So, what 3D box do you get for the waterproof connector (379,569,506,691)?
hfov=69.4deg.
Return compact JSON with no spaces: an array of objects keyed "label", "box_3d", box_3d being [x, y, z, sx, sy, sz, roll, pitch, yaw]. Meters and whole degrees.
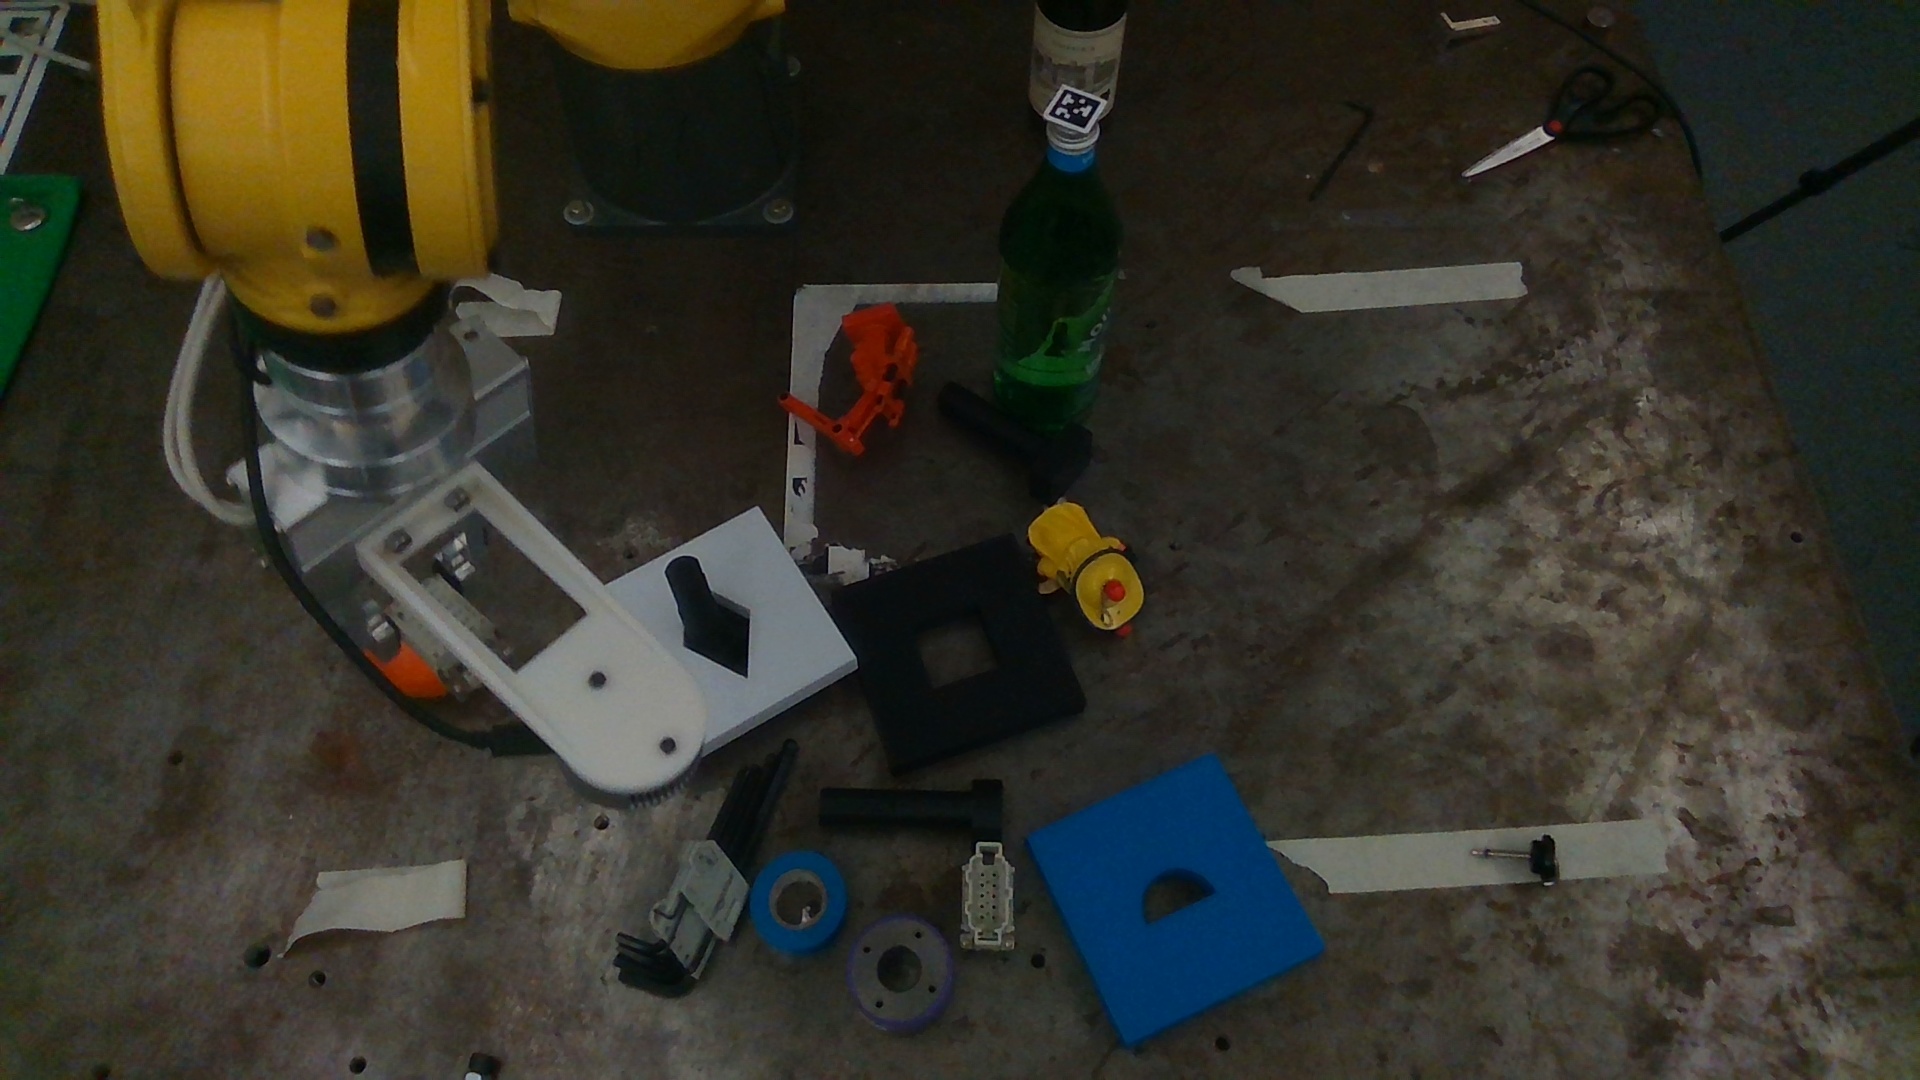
[{"label":"waterproof connector","box_3d":[-0.268,0.047,0.718,0.069,0.038,0.036,31,57,26]}]
